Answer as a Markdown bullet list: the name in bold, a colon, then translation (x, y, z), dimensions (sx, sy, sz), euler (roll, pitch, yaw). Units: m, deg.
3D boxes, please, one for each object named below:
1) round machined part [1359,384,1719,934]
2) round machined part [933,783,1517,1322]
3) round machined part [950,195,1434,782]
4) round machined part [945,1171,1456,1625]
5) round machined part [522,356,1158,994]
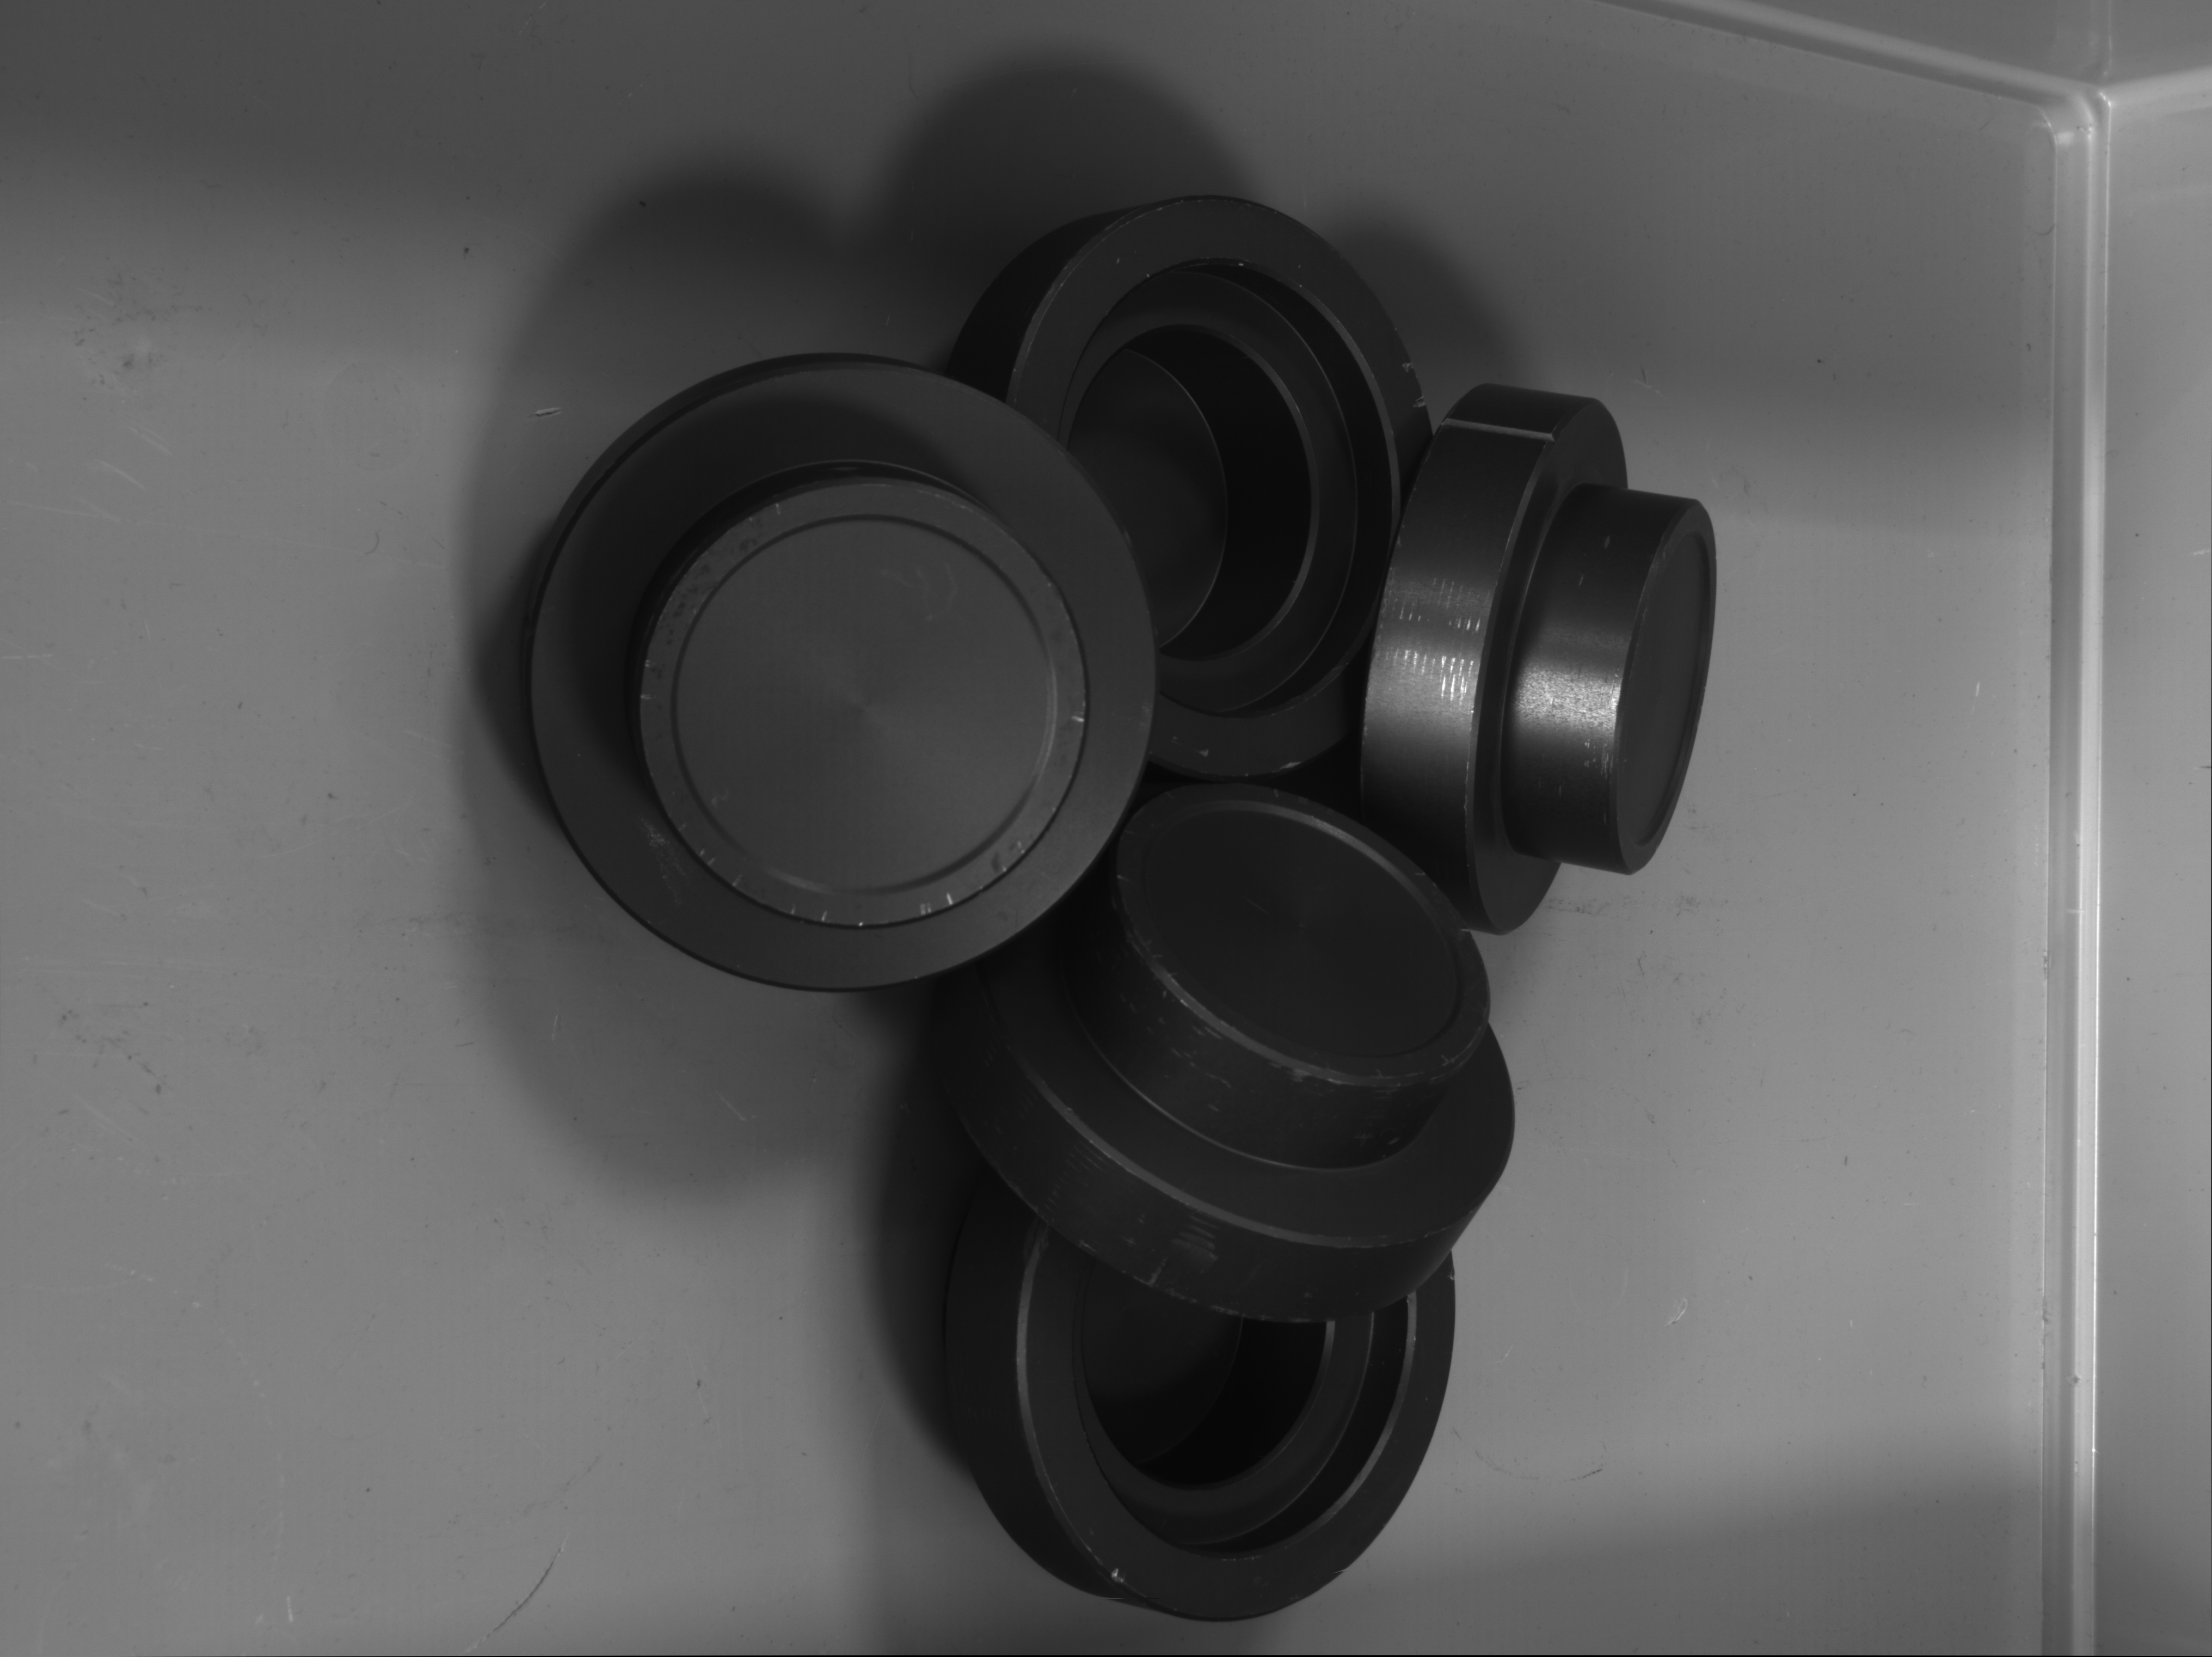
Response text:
- **round machined part**: translation (0.081, -0.029, 0.662), dimensions (0.098, 0.042, 0.098), euler (11, 90, -70)
- **round machined part**: translation (0.024, 0.030, 0.606), dimensions (0.098, 0.098, 0.042), euler (-8, 139, -39)
- **round machined part**: translation (0.009, -0.057, 0.629), dimensions (0.098, 0.042, 0.098), euler (0, 90, -40)
- **round machined part**: translation (0.011, 0.084, 0.632), dimensions (0.098, 0.042, 0.098), euler (0, 90, -40)
- **round machined part**: translation (-0.040, -0.022, 0.562), dimensions (0.098, 0.042, 0.098), euler (-2, 102, -11)
